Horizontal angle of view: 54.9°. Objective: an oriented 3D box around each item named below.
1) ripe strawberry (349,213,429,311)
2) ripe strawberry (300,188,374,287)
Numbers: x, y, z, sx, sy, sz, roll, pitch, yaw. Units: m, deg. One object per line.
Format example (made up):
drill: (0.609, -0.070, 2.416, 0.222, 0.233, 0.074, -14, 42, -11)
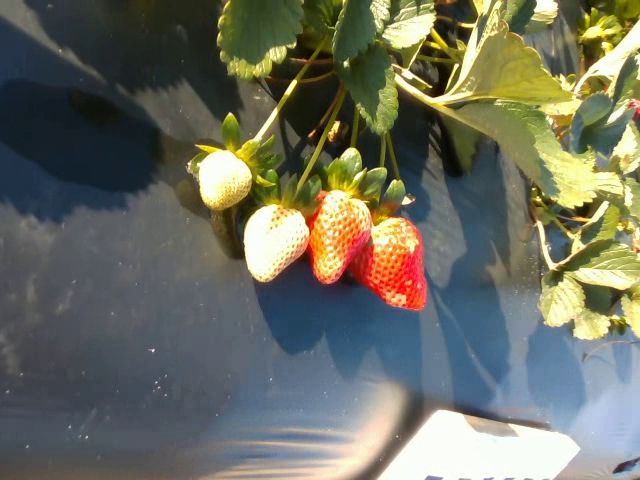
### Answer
ripe strawberry: (0.045, 0.016, 0.352, 0.056, 0.067, 0.051, -26, -7, -19)
ripe strawberry: (0.008, -0.001, 0.317, 0.043, 0.061, 0.051, 0, -34, 21)
